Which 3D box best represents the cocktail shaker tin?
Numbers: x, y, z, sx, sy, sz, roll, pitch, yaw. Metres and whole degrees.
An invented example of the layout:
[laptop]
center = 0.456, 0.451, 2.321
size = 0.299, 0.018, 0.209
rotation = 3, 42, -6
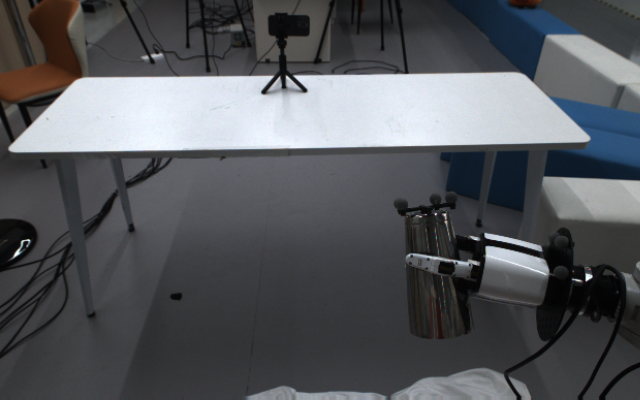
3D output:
[cocktail shaker tin]
center = 0.166, 0.103, 0.704
size = 0.093, 0.170, 0.093
rotation = -8, 1, 0
